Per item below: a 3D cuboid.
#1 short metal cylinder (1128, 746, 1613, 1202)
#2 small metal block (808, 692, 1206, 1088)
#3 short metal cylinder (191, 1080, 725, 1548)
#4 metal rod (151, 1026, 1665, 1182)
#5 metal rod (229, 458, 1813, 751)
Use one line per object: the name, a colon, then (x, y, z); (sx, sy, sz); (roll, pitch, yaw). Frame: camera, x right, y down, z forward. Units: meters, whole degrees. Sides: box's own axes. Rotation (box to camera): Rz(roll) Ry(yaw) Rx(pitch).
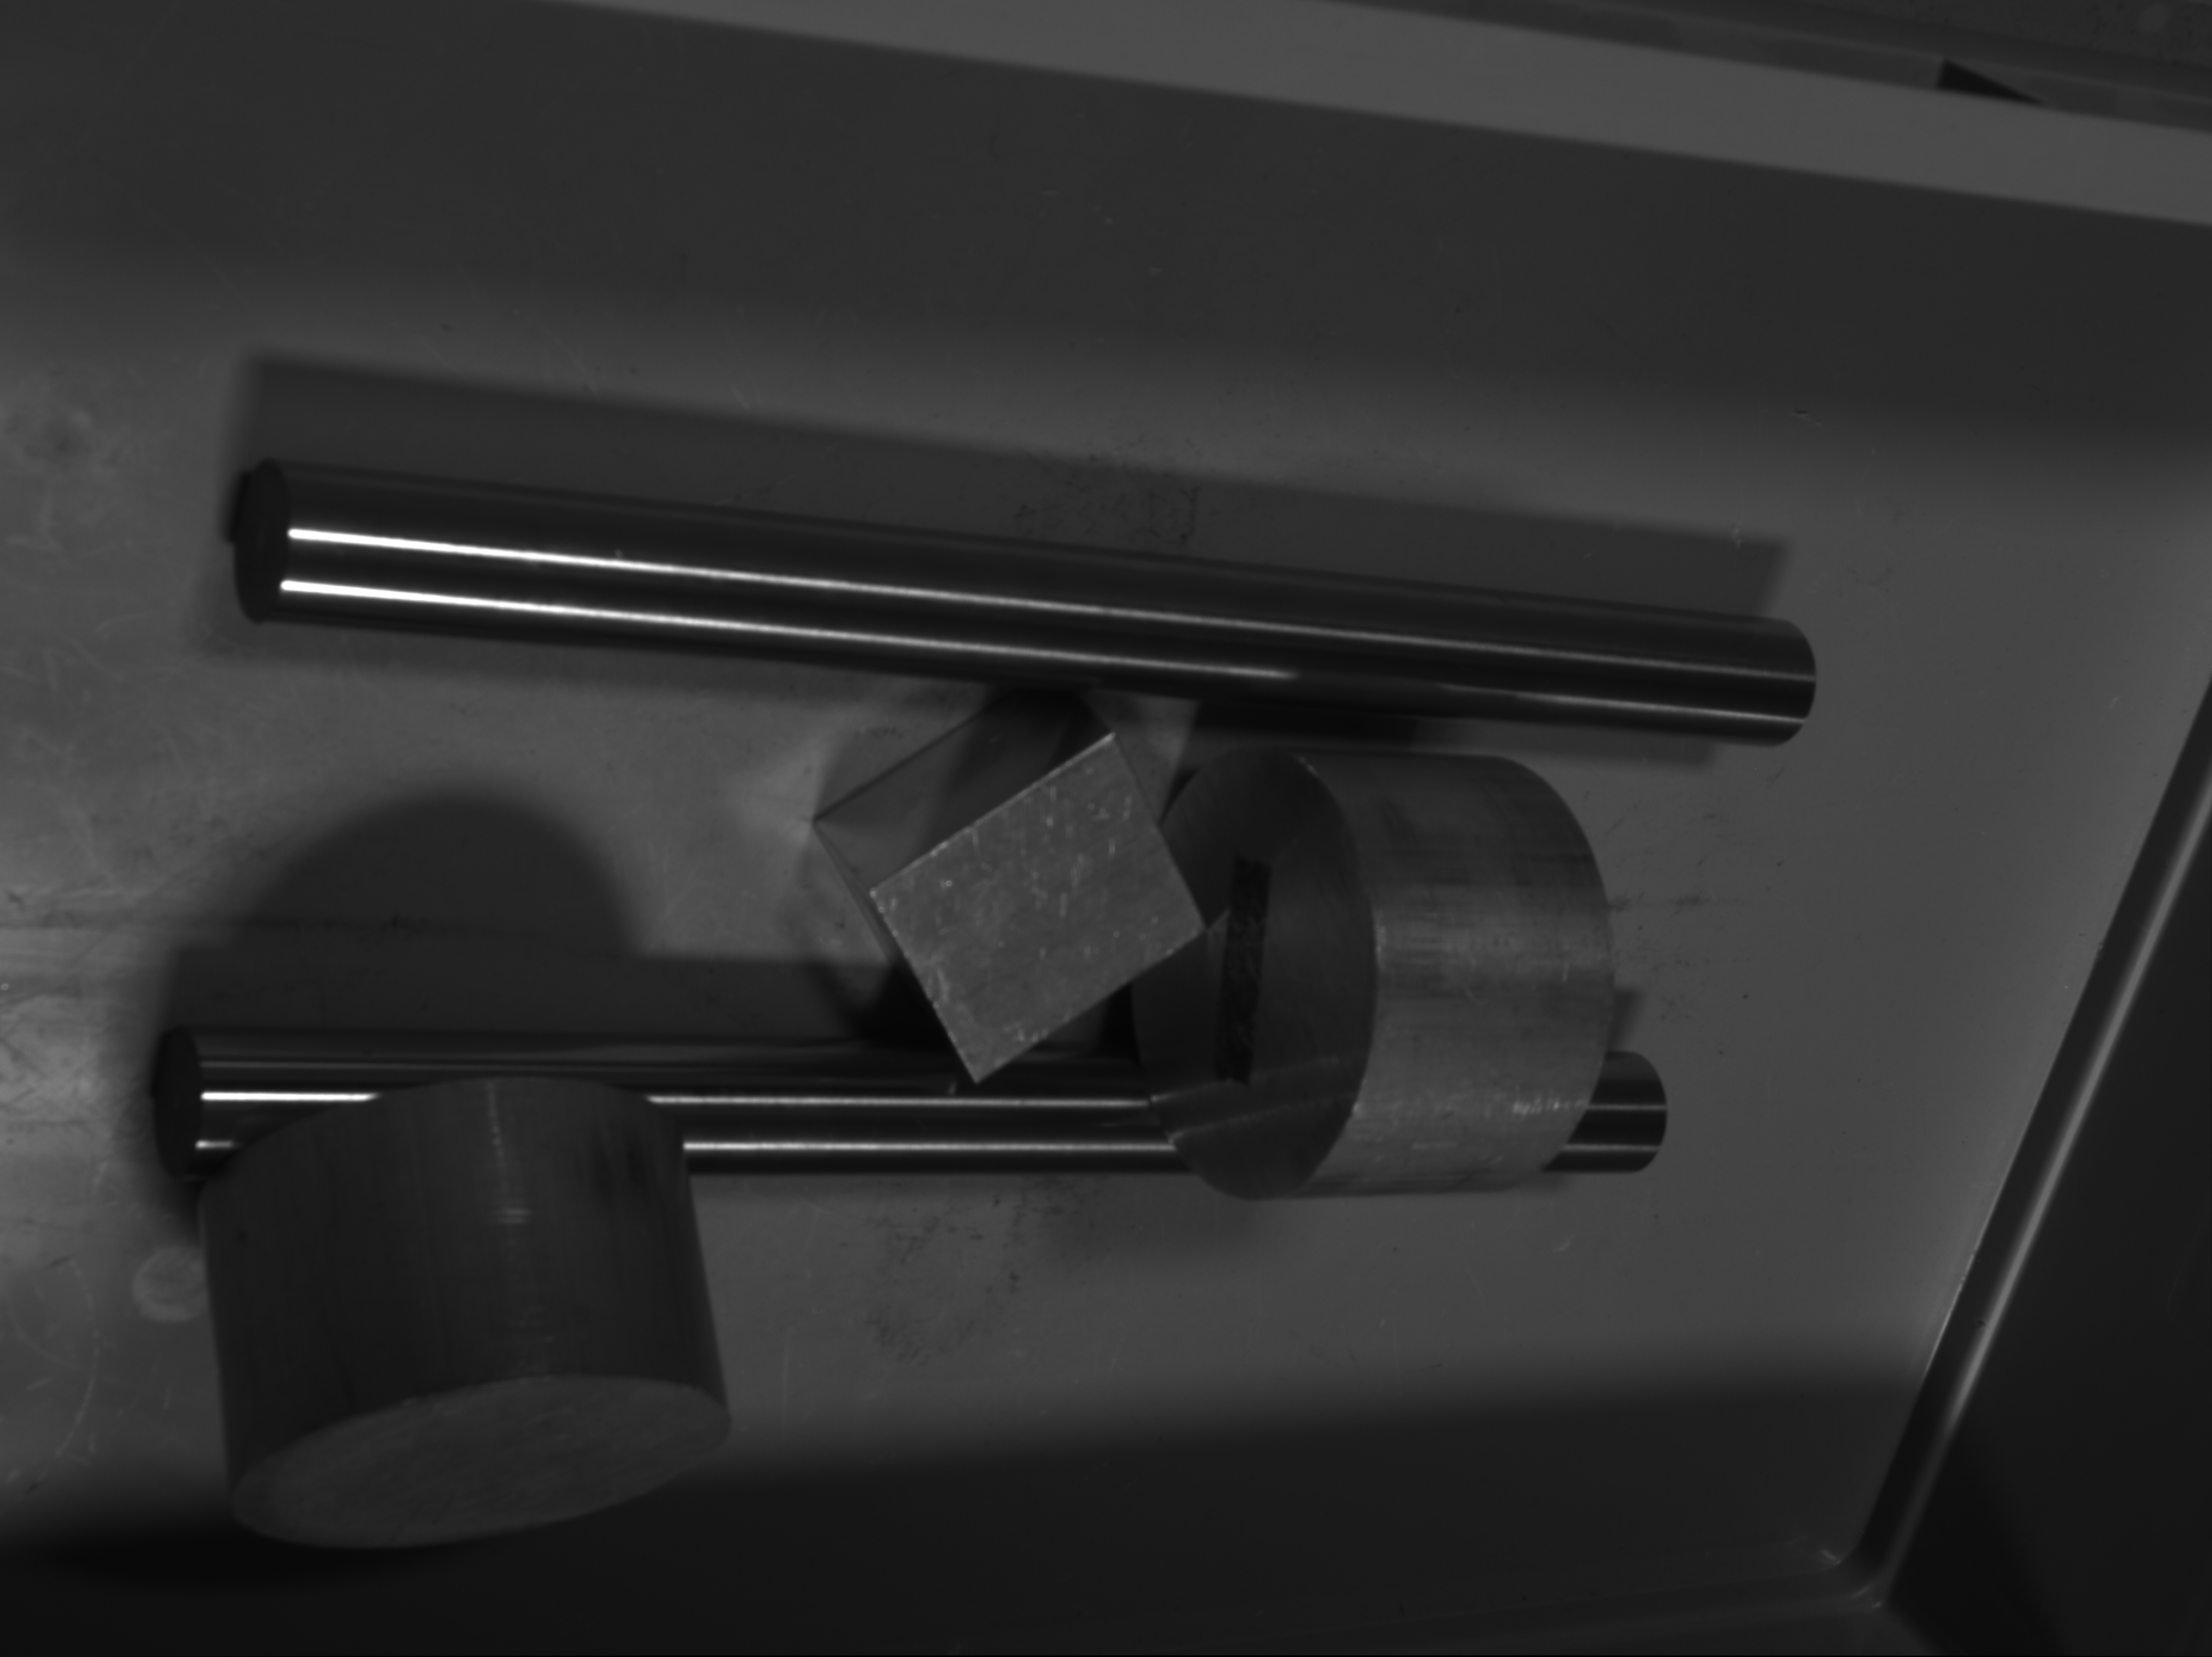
short metal cylinder: (0.046, 0.026, 0.657); (0.050, 0.080, 0.080); (2, 117, -31)
small metal block: (-0.017, 0.009, 0.645); (0.050, 0.025, 0.050); (-33, 130, -9)
short metal cylinder: (-0.106, 0.080, 0.598); (0.080, 0.050, 0.080); (-11, 155, -5)
metal rod: (-0.022, 0.051, 0.668); (0.301, 0.025, 0.025); (3, 117, -32)
metal rod: (0.000, -0.035, 0.627); (0.301, 0.025, 0.025); (3, 116, -32)
